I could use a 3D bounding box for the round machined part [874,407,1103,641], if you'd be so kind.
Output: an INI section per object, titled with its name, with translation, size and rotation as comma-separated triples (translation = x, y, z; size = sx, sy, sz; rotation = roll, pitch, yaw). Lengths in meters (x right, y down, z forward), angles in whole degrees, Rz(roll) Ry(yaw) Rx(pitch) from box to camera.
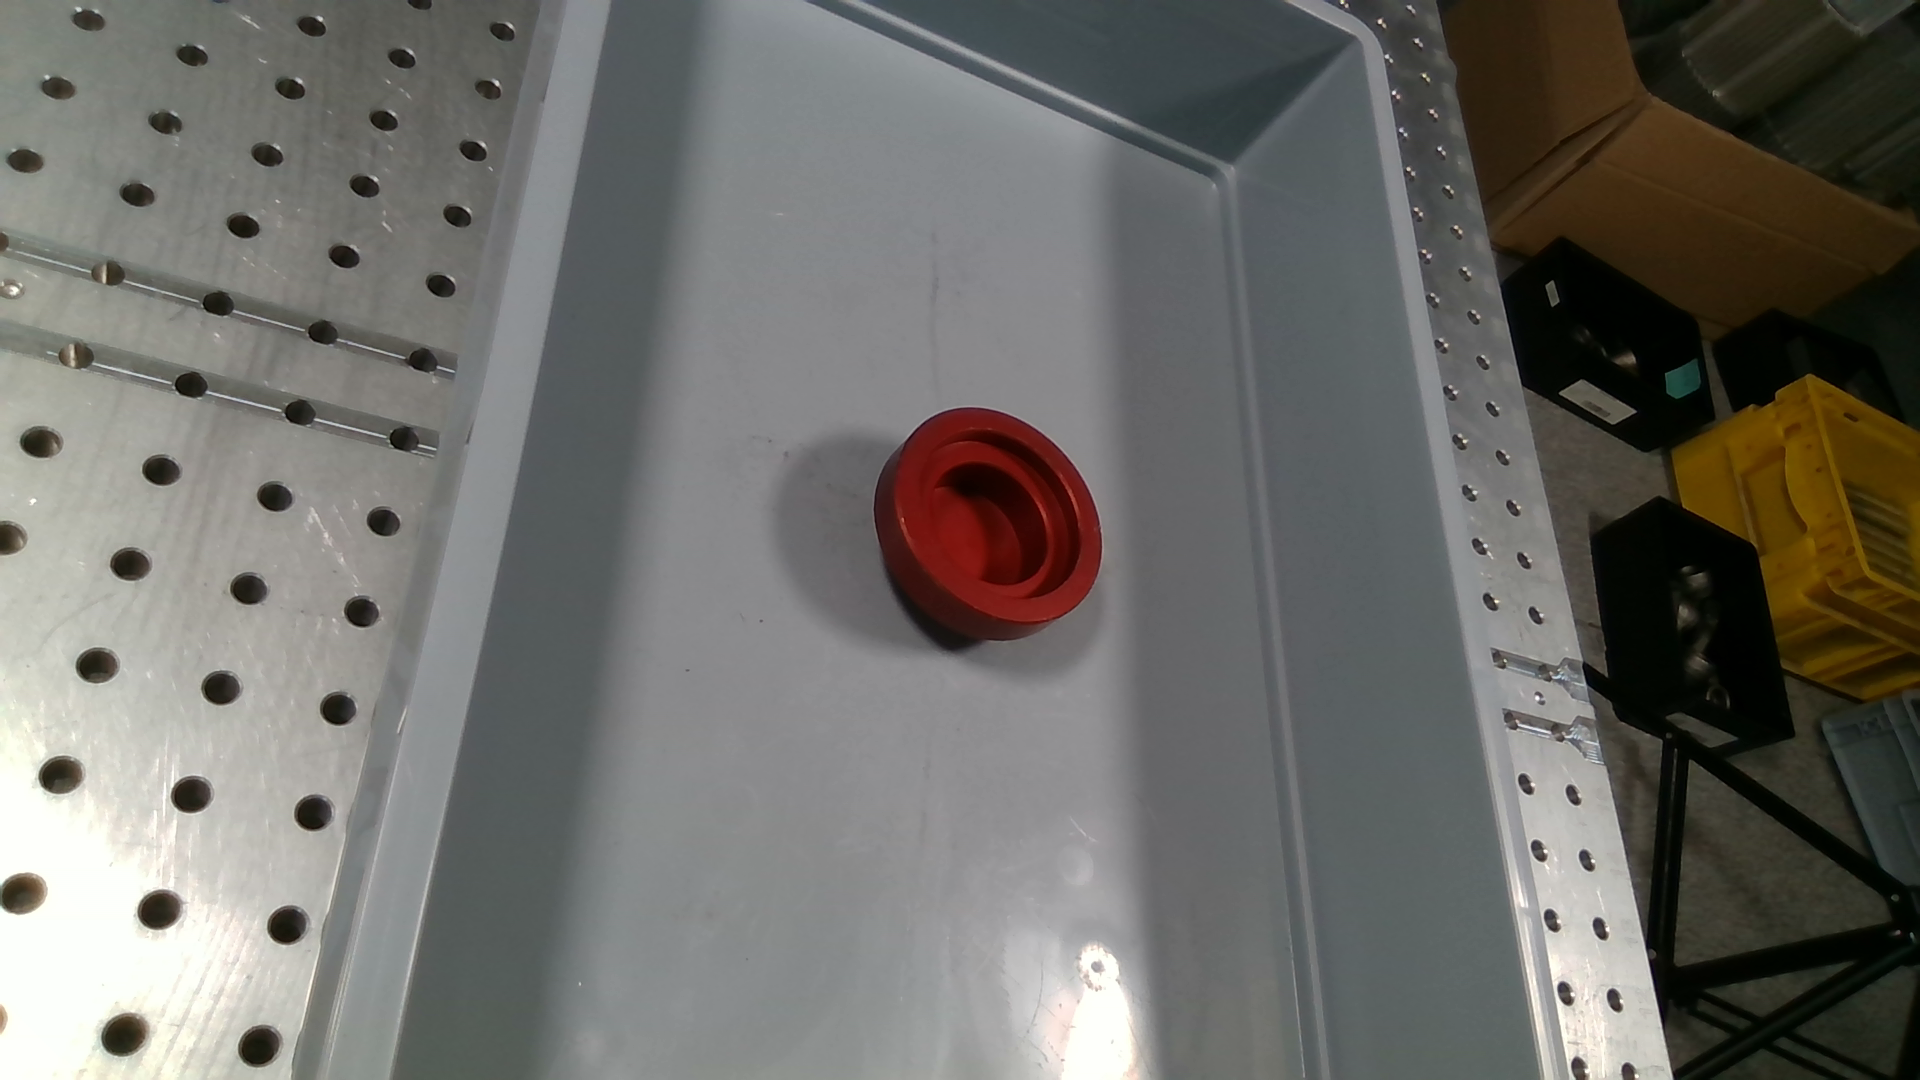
[round machined part]
translation = 0.008, -0.003, 0.577
size = 0.098, 0.042, 0.098
rotation = 14, 59, -25
